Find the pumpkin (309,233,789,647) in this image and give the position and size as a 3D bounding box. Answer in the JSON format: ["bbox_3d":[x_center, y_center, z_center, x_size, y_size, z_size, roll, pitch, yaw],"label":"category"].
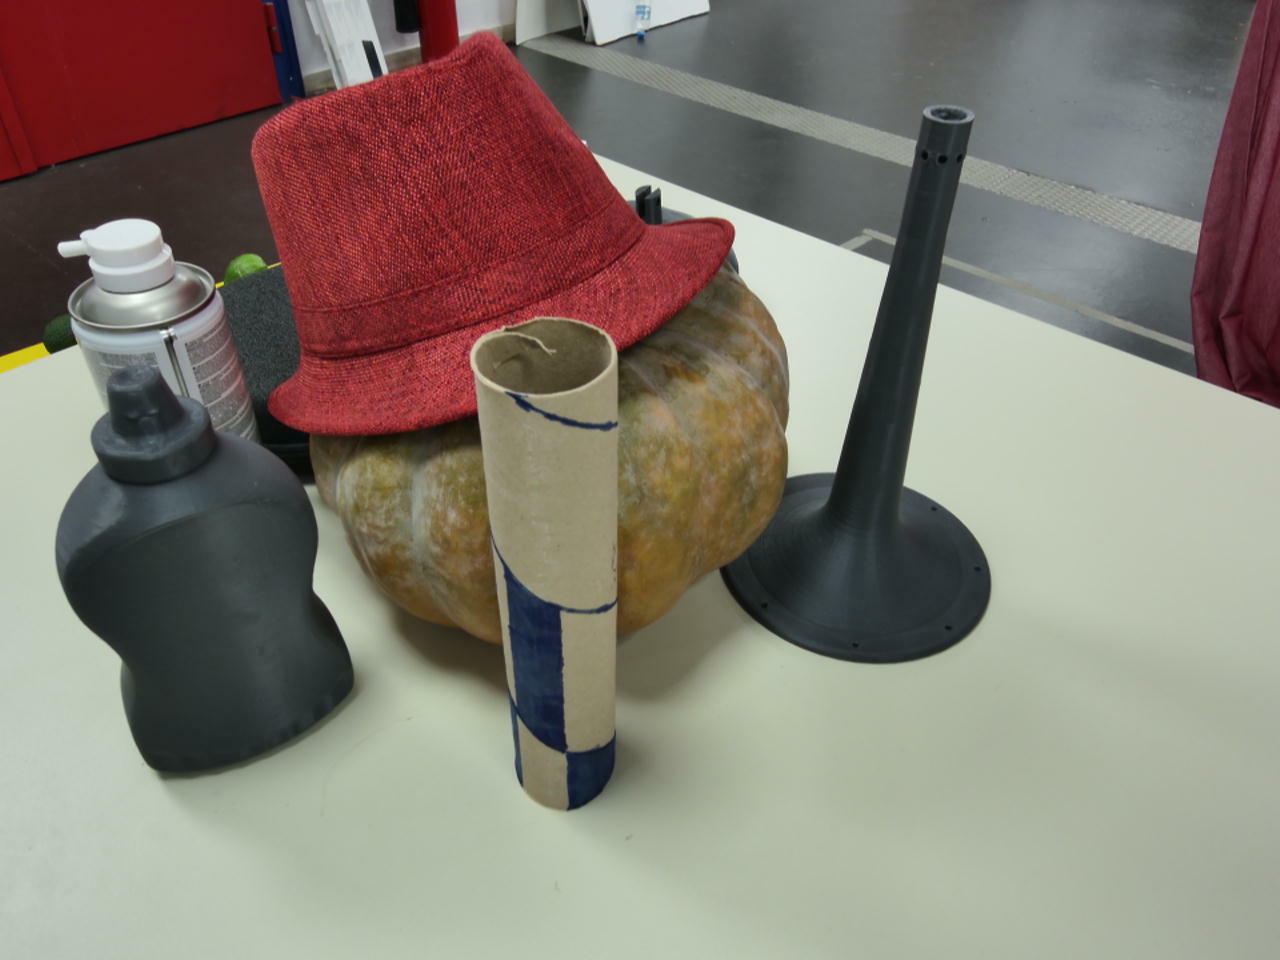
[{"bbox_3d":[-0.045,-0.028,0.520,0.252,0.169,0.251,0,38,0],"label":"pumpkin"}]
